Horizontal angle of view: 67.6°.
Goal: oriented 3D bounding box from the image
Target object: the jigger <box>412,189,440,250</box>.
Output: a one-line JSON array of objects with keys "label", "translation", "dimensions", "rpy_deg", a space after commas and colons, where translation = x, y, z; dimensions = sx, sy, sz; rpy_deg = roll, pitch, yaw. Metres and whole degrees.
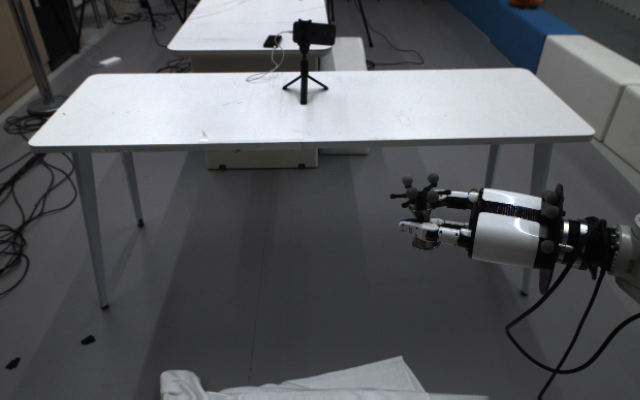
[{"label": "jigger", "translation": [0.161, 0.035, 0.748], "dimensions": [0.043, 0.071, 0.043], "rpy_deg": [-11, 23, 5]}]
